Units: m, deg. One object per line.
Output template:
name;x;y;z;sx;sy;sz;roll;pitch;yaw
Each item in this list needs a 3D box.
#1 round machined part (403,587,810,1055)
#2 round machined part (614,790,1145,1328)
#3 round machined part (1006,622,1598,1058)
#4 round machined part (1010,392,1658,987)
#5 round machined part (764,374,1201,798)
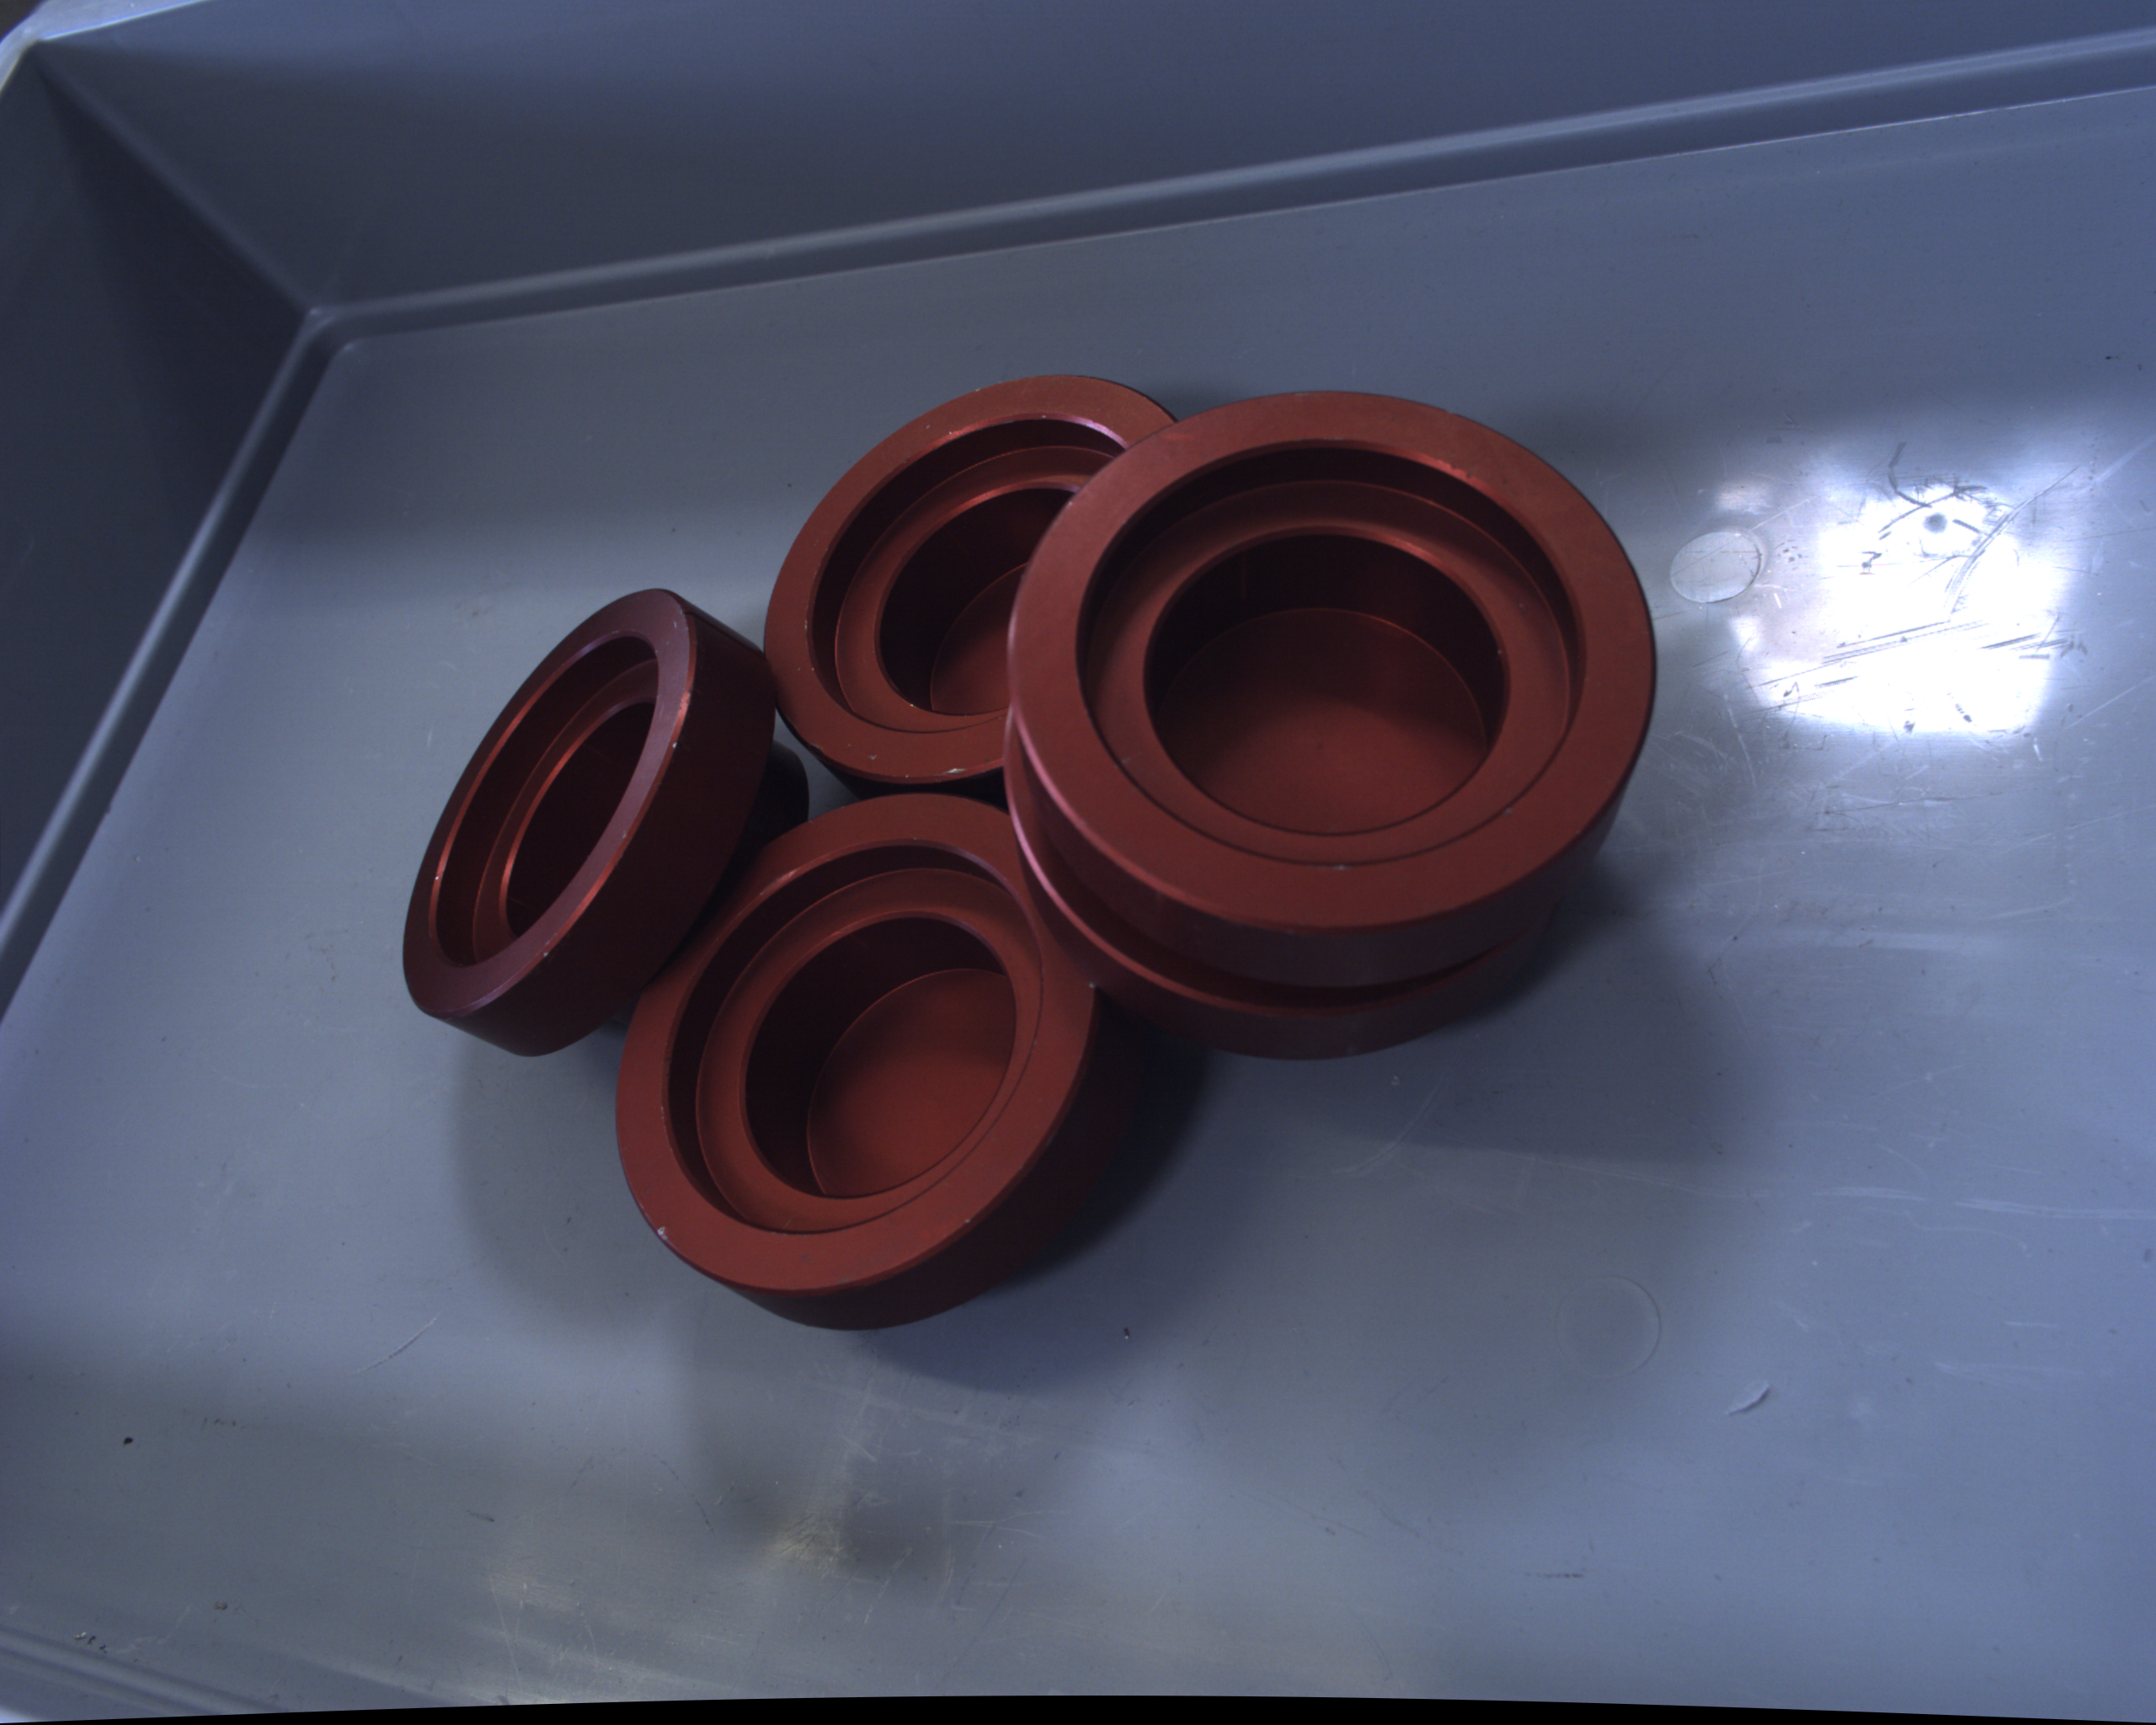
round machined part;-0.093;-0.005;0.432;0.098;0.042;0.098;-31;41;33
round machined part;-0.033;0.039;0.385;0.098;0.042;0.098;-13;56;21
round machined part;0.038;-0.011;0.366;0.099;0.042;0.098;-1;63;2
round machined part;0.040;-0.024;0.337;0.099;0.042;0.098;-1;64;3
round machined part;-0.012;-0.049;0.428;0.098;0.042;0.098;-13;56;21
